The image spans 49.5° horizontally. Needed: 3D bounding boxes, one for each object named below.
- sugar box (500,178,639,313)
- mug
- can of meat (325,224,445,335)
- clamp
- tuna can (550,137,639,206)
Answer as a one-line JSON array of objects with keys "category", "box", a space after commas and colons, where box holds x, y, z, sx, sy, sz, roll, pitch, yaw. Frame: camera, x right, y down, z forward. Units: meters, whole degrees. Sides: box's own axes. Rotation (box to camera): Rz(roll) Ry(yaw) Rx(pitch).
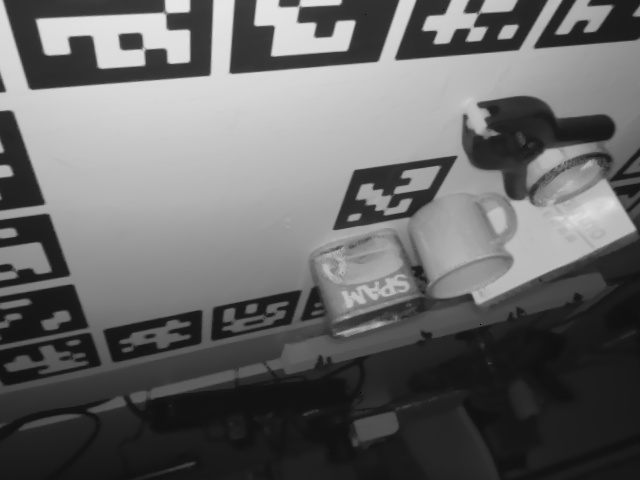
[{"category": "sugar box", "box": [0.252, -0.003, 0.714, 0.175, 0.093, 0.045, -27, 149, 16]}, {"category": "mug", "box": [0.167, 0.003, 0.673, 0.094, 0.081, 0.115, 10, 137, -36]}, {"category": "can of meat", "box": [0.061, 0.038, 0.687, 0.102, 0.084, 0.057, -11, 149, -9]}, {"category": "clamp", "box": [0.196, -0.097, 0.593, 0.167, 0.037, 0.120, 21, 136, -41]}, {"category": "tuna can", "box": [0.263, -0.071, 0.657, 0.086, 0.034, 0.085, -14, 147, -8]}]
